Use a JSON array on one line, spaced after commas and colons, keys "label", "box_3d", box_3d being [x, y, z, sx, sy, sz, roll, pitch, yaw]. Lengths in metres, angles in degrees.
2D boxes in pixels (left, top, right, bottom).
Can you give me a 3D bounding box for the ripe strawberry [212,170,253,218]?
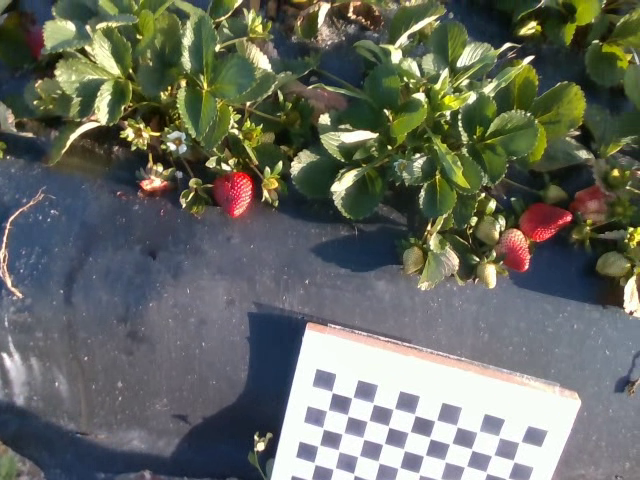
[{"label": "ripe strawberry", "box_3d": [-0.092, -0.045, 0.667, 0.052, 0.052, 0.041, -15, -42, 8]}]
